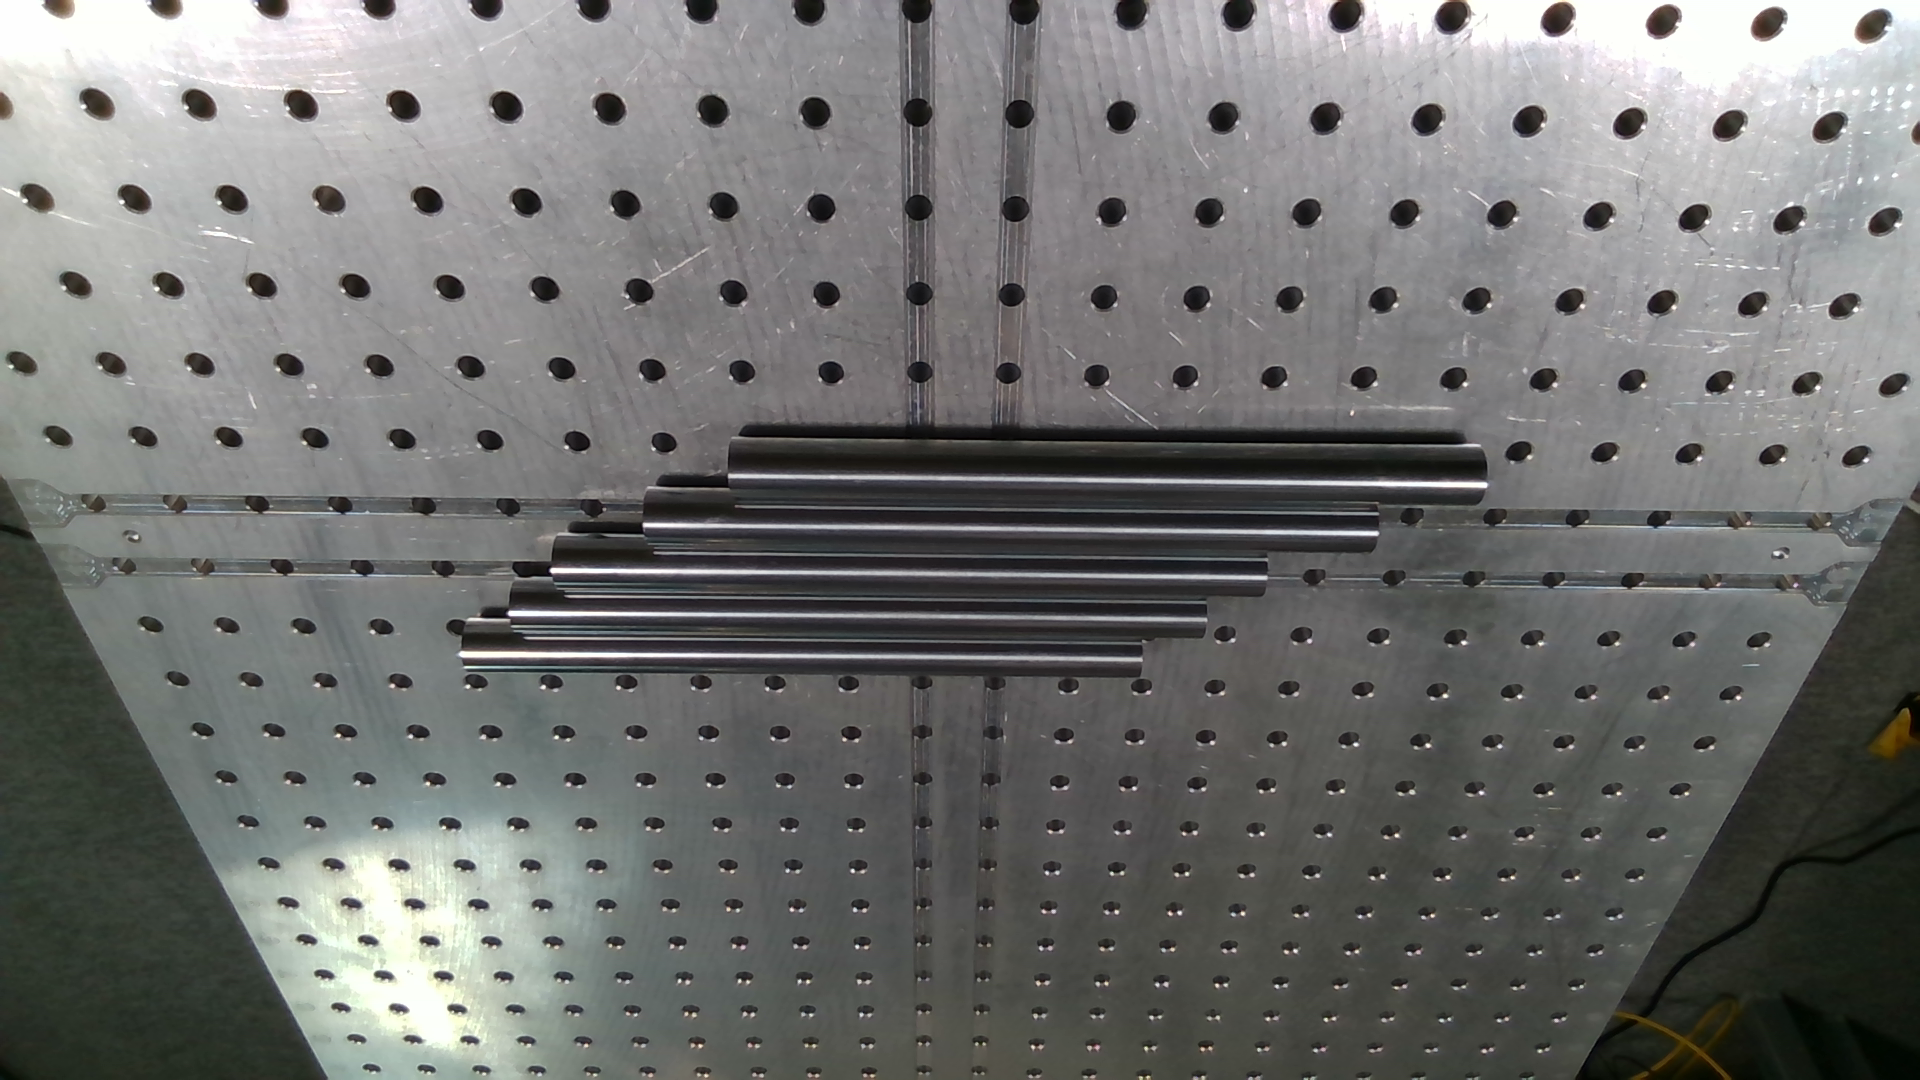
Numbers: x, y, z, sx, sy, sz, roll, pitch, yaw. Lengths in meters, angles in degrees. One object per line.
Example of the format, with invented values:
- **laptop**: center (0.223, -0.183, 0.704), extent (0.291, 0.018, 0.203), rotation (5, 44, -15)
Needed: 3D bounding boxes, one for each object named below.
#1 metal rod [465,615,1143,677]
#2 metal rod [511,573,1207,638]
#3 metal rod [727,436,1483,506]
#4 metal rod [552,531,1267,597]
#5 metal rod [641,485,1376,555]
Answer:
- **metal rod**: center (-0.069, 0.048, 0.622), extent (0.300, 0.025, 0.025), rotation (1, 130, -1)
- **metal rod**: center (-0.043, 0.029, 0.606), extent (0.300, 0.025, 0.025), rotation (1, 130, -1)
- **metal rod**: center (0.058, -0.028, 0.558), extent (0.300, 0.025, 0.025), rotation (1, 130, -1)
- **metal rod**: center (-0.021, 0.010, 0.590), extent (0.300, 0.025, 0.025), rotation (1, 130, -1)
- **metal rod**: center (0.020, -0.008, 0.574), extent (0.300, 0.025, 0.025), rotation (1, 130, -1)
